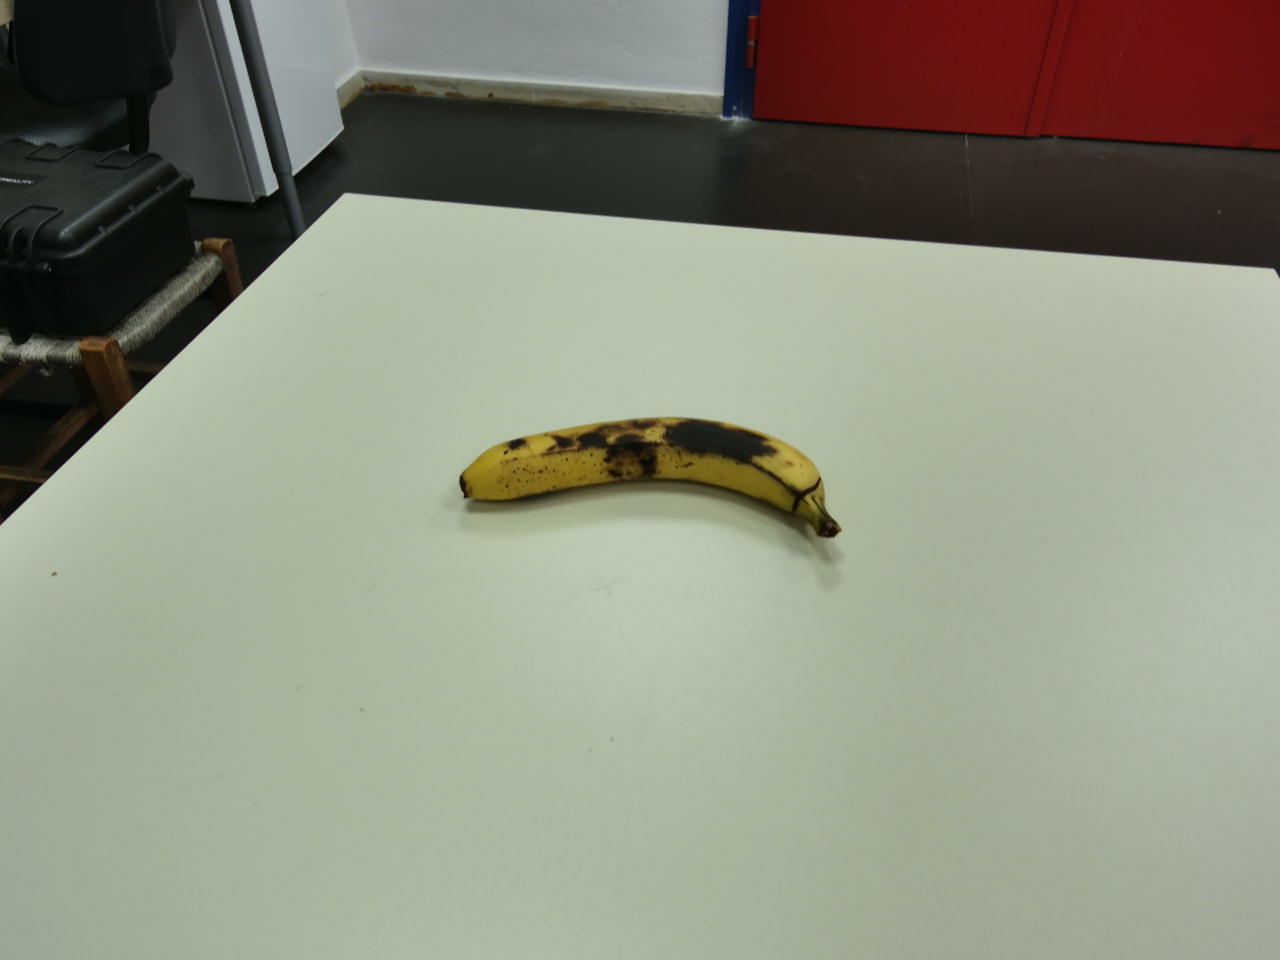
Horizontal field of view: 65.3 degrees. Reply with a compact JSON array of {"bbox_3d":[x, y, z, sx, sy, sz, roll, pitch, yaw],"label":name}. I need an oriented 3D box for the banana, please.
[{"bbox_3d":[0.009,-0.008,0.595,0.222,0.037,0.084,8,40,10],"label":"banana"}]
